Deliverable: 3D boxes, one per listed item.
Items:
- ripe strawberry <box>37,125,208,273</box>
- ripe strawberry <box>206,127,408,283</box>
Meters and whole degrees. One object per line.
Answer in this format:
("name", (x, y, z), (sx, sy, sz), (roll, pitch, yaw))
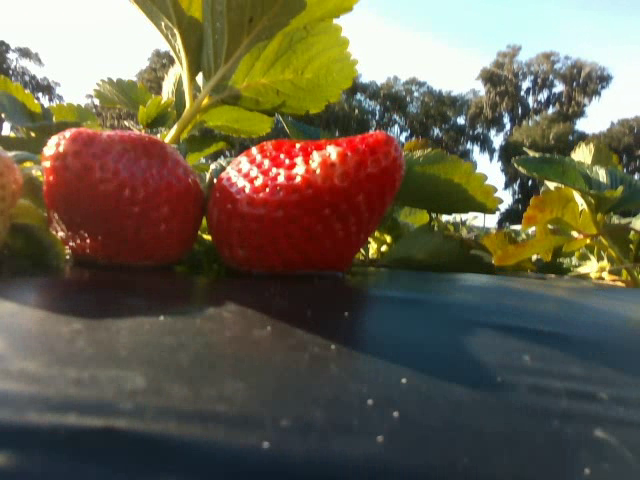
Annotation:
("ripe strawberry", (-0.053, -0.013, 0.151), (0.050, 0.044, 0.061), (22, -10, 11))
("ripe strawberry", (0.001, -0.012, 0.156), (0.067, 0.052, 0.056), (-33, -1, 44))
